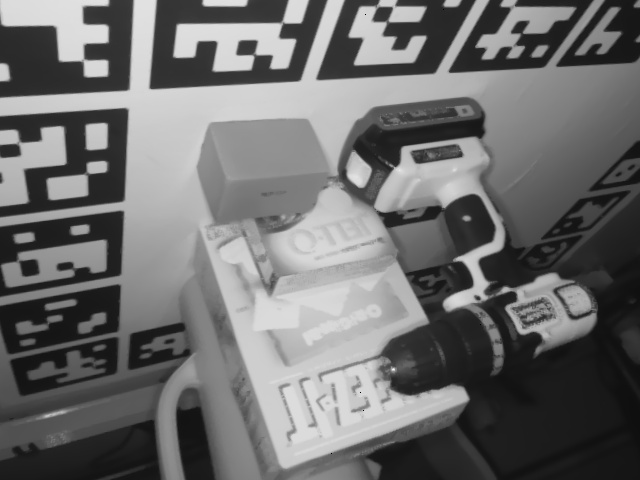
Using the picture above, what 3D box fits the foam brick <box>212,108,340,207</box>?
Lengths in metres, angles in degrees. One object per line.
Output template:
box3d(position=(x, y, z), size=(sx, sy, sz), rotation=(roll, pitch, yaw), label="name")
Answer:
box3d(position=(-0.034, -0.063, 0.523), size=(0.079, 0.051, 0.052), rotation=(-7, 143, -26), label="foam brick")

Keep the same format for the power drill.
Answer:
box3d(position=(0.110, 0.002, 0.523), size=(0.187, 0.187, 0.056), rotation=(-8, 149, -23), label="power drill")

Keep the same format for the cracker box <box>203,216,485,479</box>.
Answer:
box3d(position=(0.014, 0.066, 0.583), size=(0.166, 0.214, 0.071), rotation=(-11, 148, -24), label="cracker box")

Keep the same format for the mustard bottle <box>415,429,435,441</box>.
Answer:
box3d(position=(0.065, 0.111, 0.698), size=(0.098, 0.191, 0.057), rotation=(1, 140, -35), label="mustard bottle")

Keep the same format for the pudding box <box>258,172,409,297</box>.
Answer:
box3d(position=(0.014, -0.007, 0.578), size=(0.115, 0.090, 0.038), rotation=(-10, 148, -27), label="pudding box")

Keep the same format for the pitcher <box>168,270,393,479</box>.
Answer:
box3d(position=(-0.052, 0.138, 0.636), size=(0.192, 0.242, 0.131), rotation=(-6, 144, -31), label="pitcher")
